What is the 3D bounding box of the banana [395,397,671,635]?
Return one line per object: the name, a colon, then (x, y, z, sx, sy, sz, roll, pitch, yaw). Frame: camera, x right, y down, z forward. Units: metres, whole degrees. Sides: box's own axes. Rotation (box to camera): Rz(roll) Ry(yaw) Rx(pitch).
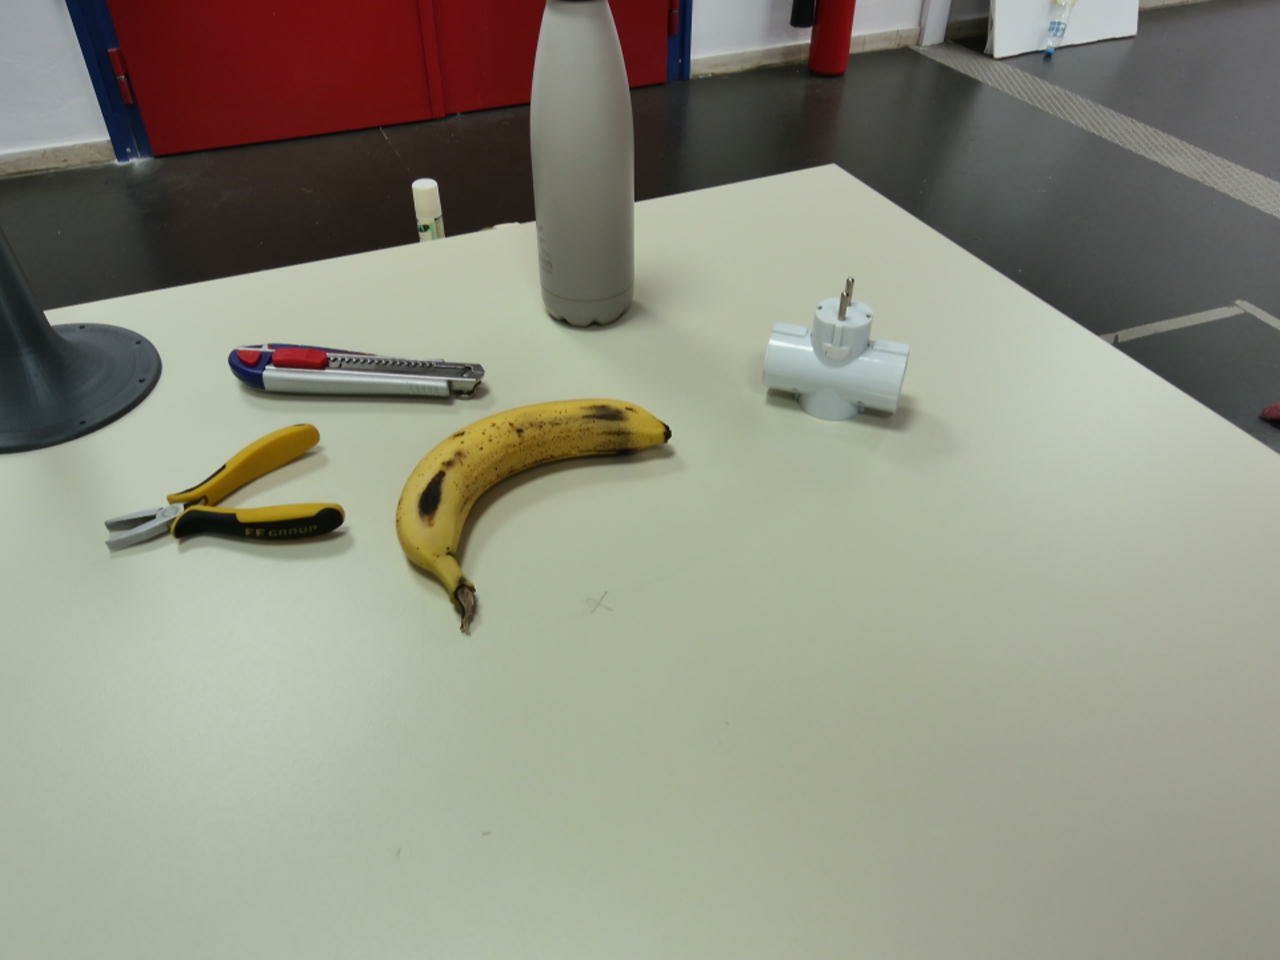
banana: (-0.072, -0.003, 0.591, 0.097, 0.038, 0.186, 25, 45, 28)
